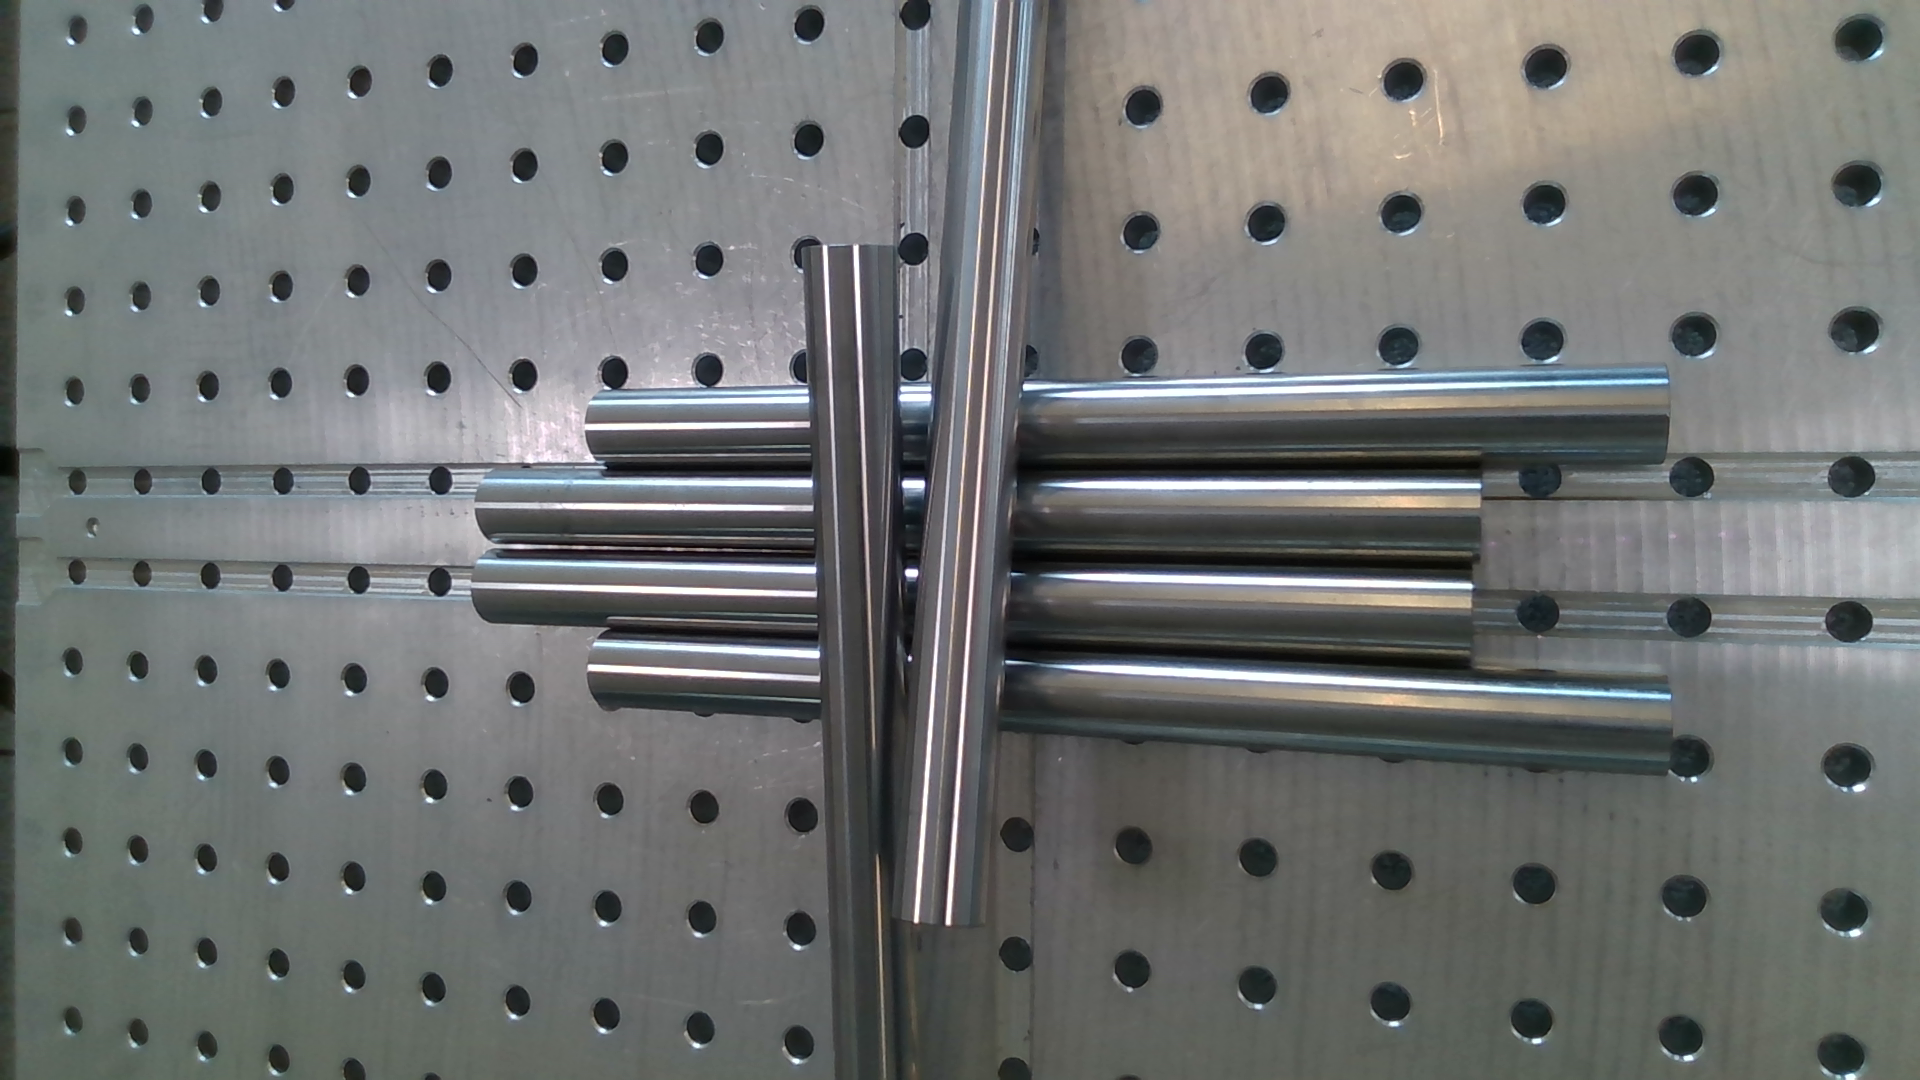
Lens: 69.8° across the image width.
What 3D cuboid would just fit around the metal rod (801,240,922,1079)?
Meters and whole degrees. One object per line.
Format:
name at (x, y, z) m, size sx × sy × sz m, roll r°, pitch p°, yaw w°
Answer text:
metal rod at (-0.026, 0.070, 0.384) m, size 0.025 × 0.025 × 0.300 m, roll 2°, pitch 100°, yaw 20°

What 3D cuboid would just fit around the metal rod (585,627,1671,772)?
metal rod at (0.030, 0.042, 0.385) m, size 0.300 × 0.025 × 0.025 m, roll 1°, pitch 90°, yaw 20°

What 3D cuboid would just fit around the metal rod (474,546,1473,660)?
metal rod at (-0.011, 0.016, 0.401) m, size 0.300 × 0.025 × 0.025 m, roll 1°, pitch 90°, yaw 20°

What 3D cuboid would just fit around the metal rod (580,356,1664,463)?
metal rod at (0.028, -0.034, 0.385) m, size 0.300 × 0.025 × 0.025 m, roll 1°, pitch 90°, yaw 20°

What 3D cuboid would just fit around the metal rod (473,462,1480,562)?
metal rod at (-0.010, -0.010, 0.399) m, size 0.300 × 0.025 × 0.025 m, roll 1°, pitch 91°, yaw 20°

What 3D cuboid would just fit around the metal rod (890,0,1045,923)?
metal rod at (0.005, -0.053, 0.370) m, size 0.025 × 0.025 × 0.300 m, roll 1°, pitch 82°, yaw 20°
